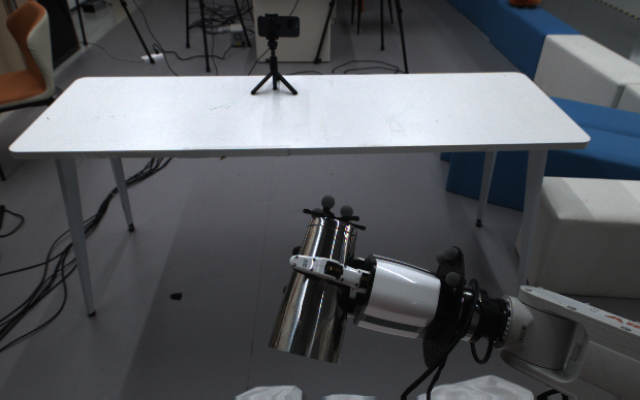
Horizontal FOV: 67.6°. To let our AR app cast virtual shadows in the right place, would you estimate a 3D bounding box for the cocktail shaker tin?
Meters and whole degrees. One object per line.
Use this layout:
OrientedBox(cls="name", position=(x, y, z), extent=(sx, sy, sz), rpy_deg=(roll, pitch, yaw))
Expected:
OrientedBox(cls="cocktail shaker tin", position=(-0.002, 0.114, 0.624), extent=(0.093, 0.093, 0.170), rpy_deg=(11, 74, 12))
